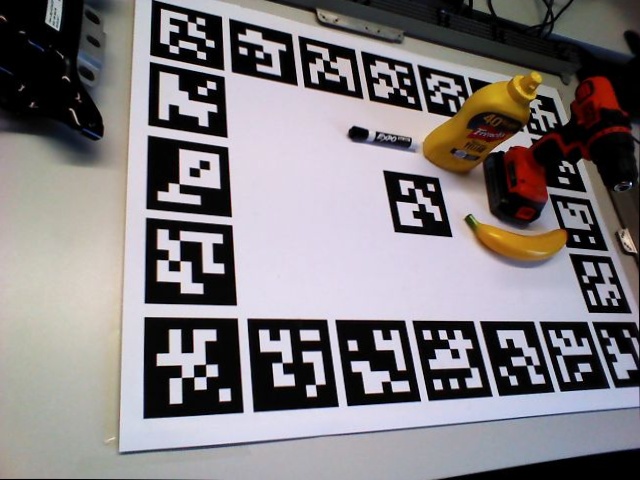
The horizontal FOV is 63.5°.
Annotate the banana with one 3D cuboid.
[{"bbox_3d":[0.320,0.025,0.812,0.197,0.039,0.074,12,65,-19],"label":"banana"}]

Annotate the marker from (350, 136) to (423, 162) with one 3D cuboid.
[{"bbox_3d":[0.102,-0.140,0.789,0.121,0.020,0.019,7,66,-23],"label":"marker"}]

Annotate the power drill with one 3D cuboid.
[{"bbox_3d":[0.361,-0.091,0.768,0.057,0.188,0.183,19,59,-20],"label":"power drill"}]

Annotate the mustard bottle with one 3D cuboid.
[{"bbox_3d":[0.253,-0.153,0.764,0.096,0.193,0.058,16,62,-20],"label":"mustard bottle"}]
